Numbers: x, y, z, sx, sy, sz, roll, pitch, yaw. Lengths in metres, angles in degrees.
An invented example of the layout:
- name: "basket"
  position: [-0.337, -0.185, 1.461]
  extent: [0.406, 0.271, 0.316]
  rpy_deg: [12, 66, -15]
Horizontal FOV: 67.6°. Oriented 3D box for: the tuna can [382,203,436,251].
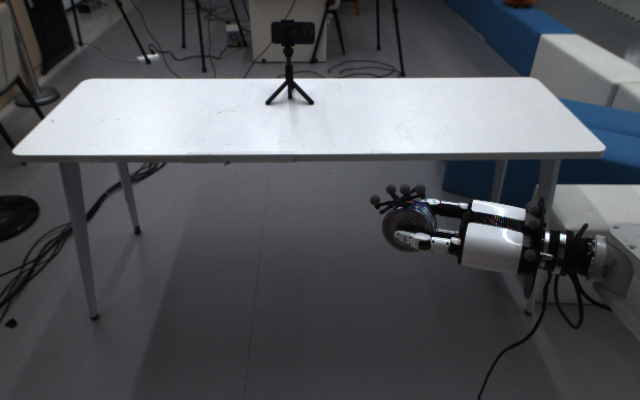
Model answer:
- name: "tuna can"
  position: [0.149, 0.042, 0.801]
  extent: [0.085, 0.085, 0.034]
  rpy_deg: [15, 30, 17]
